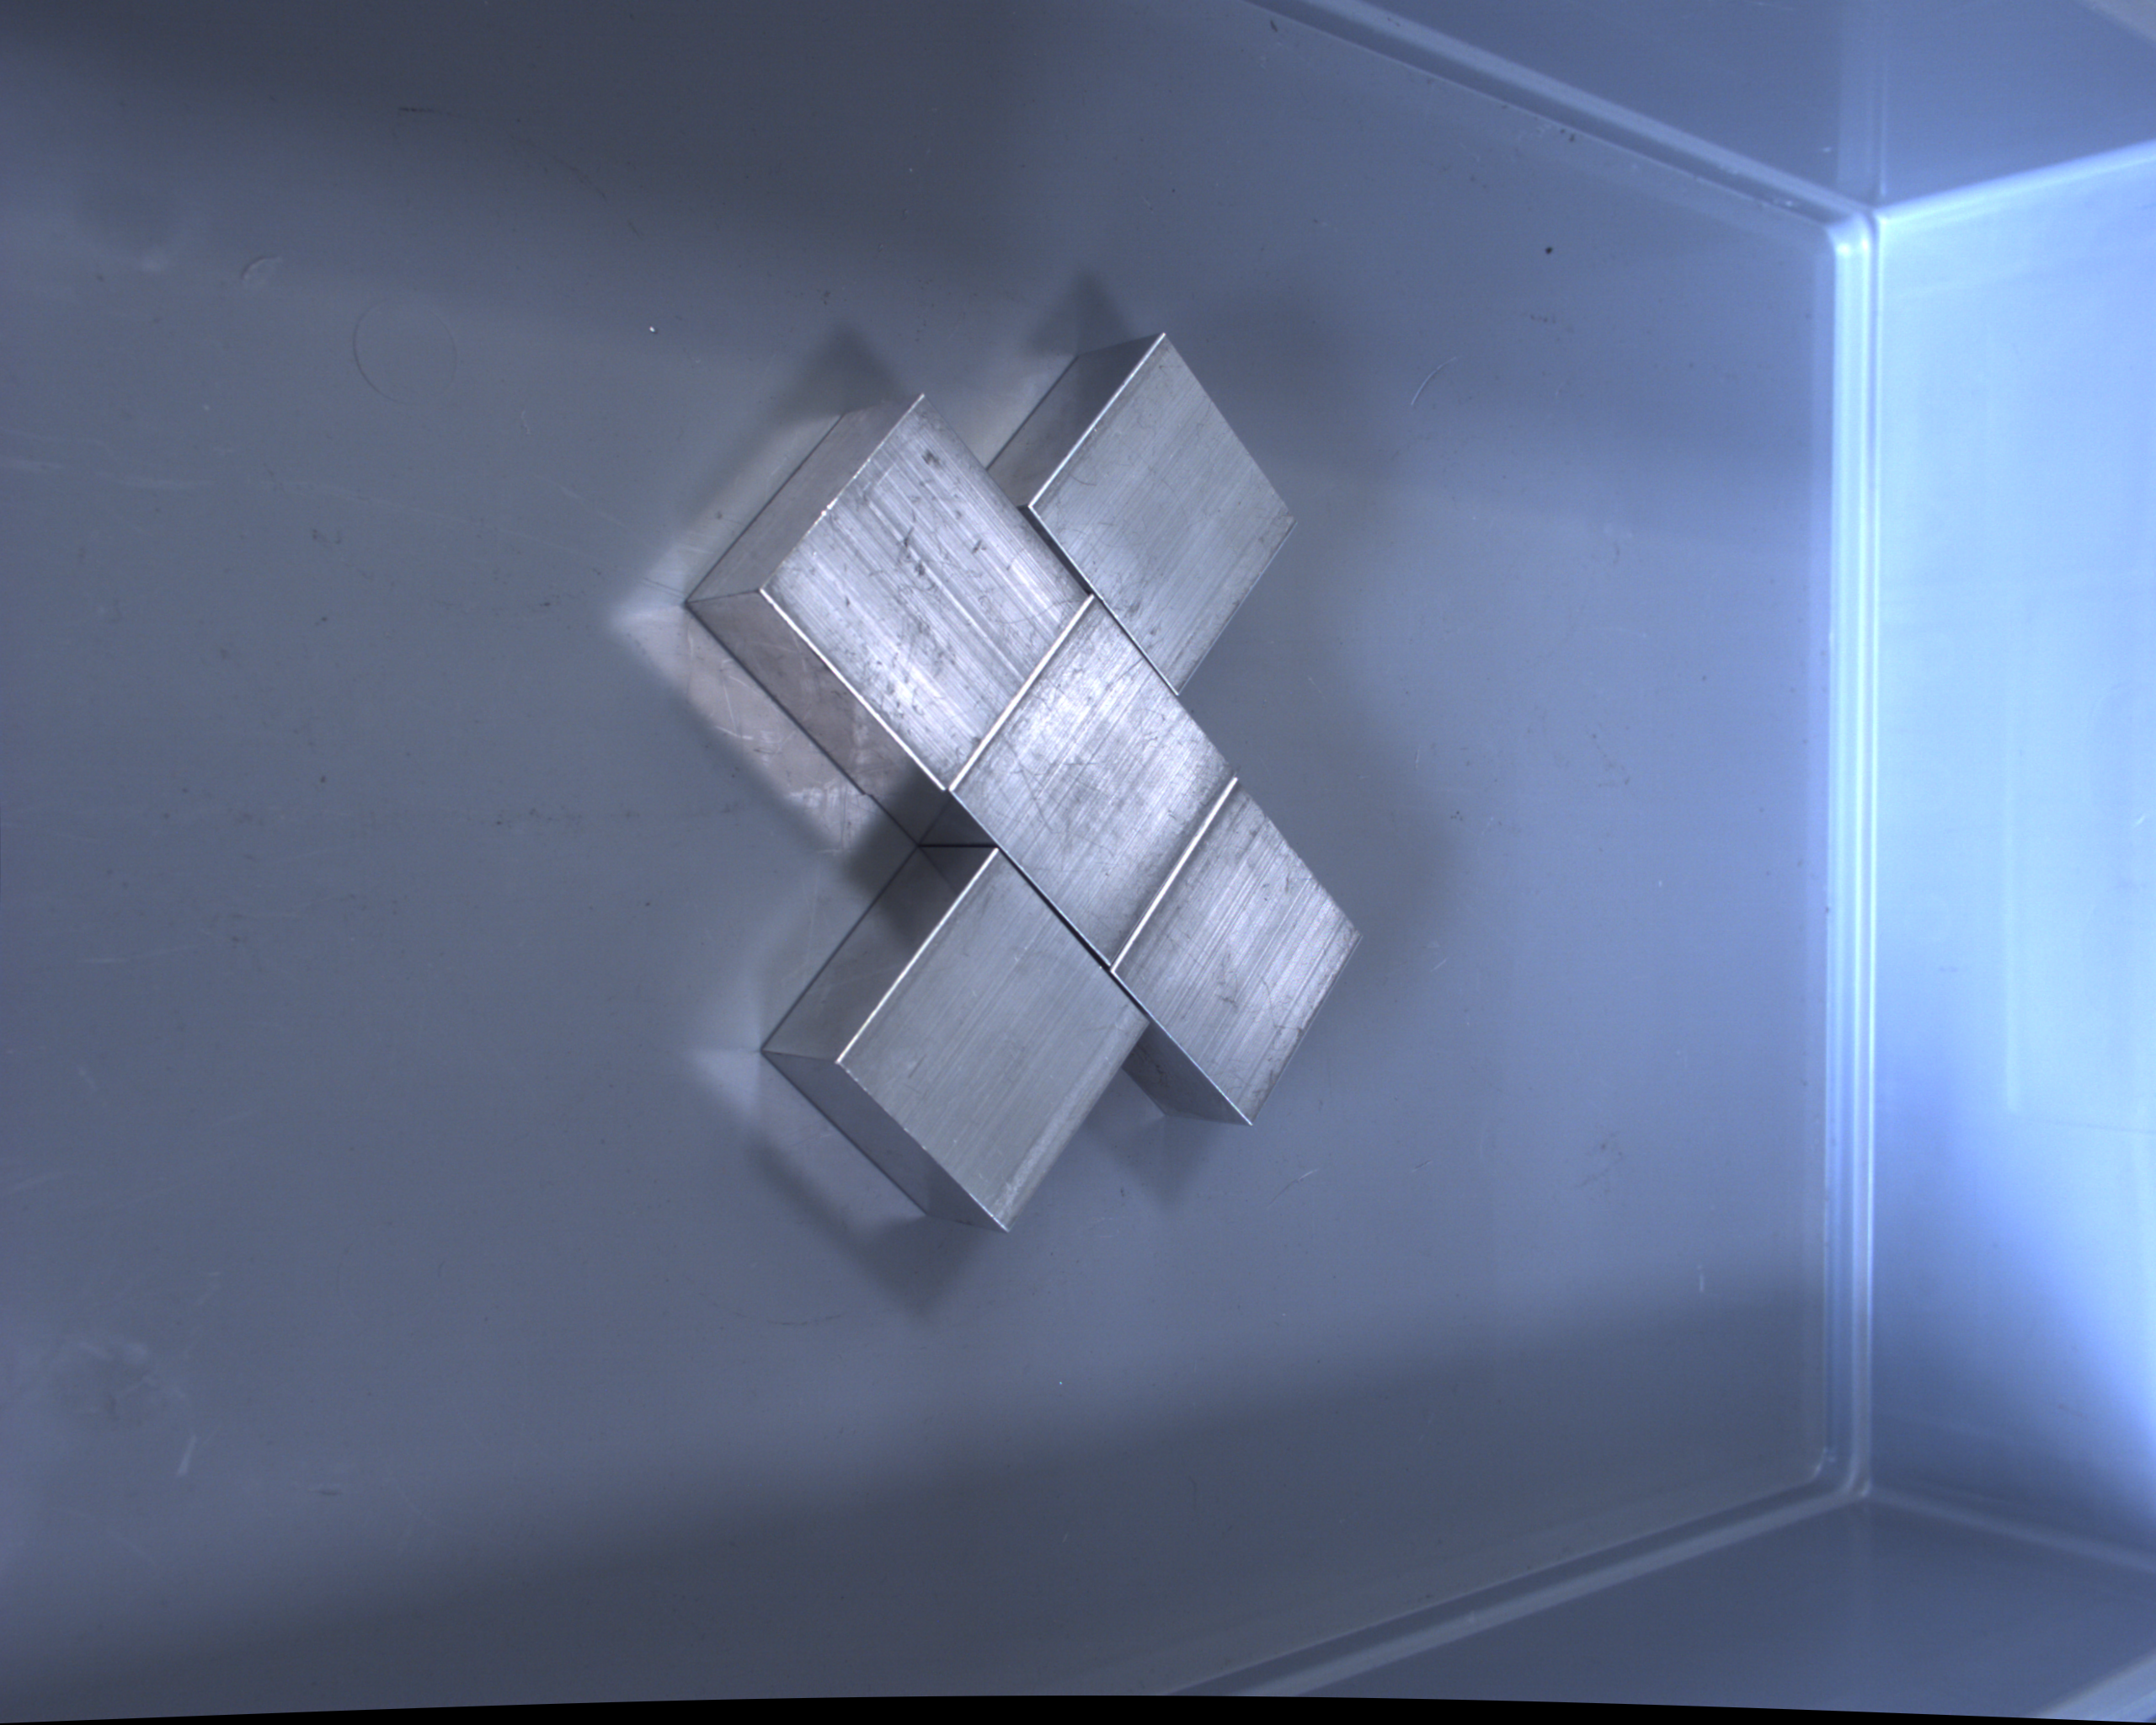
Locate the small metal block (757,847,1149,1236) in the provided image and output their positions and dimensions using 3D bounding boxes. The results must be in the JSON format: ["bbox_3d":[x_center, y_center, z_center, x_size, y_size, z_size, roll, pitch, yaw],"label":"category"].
[{"bbox_3d":[-0.022,0.032,0.386,0.050,0.025,0.050,50,61,-28],"label":"small metal block"}]

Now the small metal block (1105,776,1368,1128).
[{"bbox_3d":[0.026,0.018,0.425,0.050,0.025,0.050,49,61,-29],"label":"small metal block"}]

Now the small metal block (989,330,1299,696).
[{"bbox_3d":[0.010,-0.067,0.411,0.050,0.025,0.050,49,60,-29],"label":"small metal block"}]

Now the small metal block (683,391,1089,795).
[{"bbox_3d":[-0.033,-0.047,0.376,0.050,0.025,0.050,49,61,-29],"label":"small metal block"}]

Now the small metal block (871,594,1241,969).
[{"bbox_3d":[-0.003,-0.015,0.400,0.050,0.025,0.050,49,61,-29],"label":"small metal block"}]
